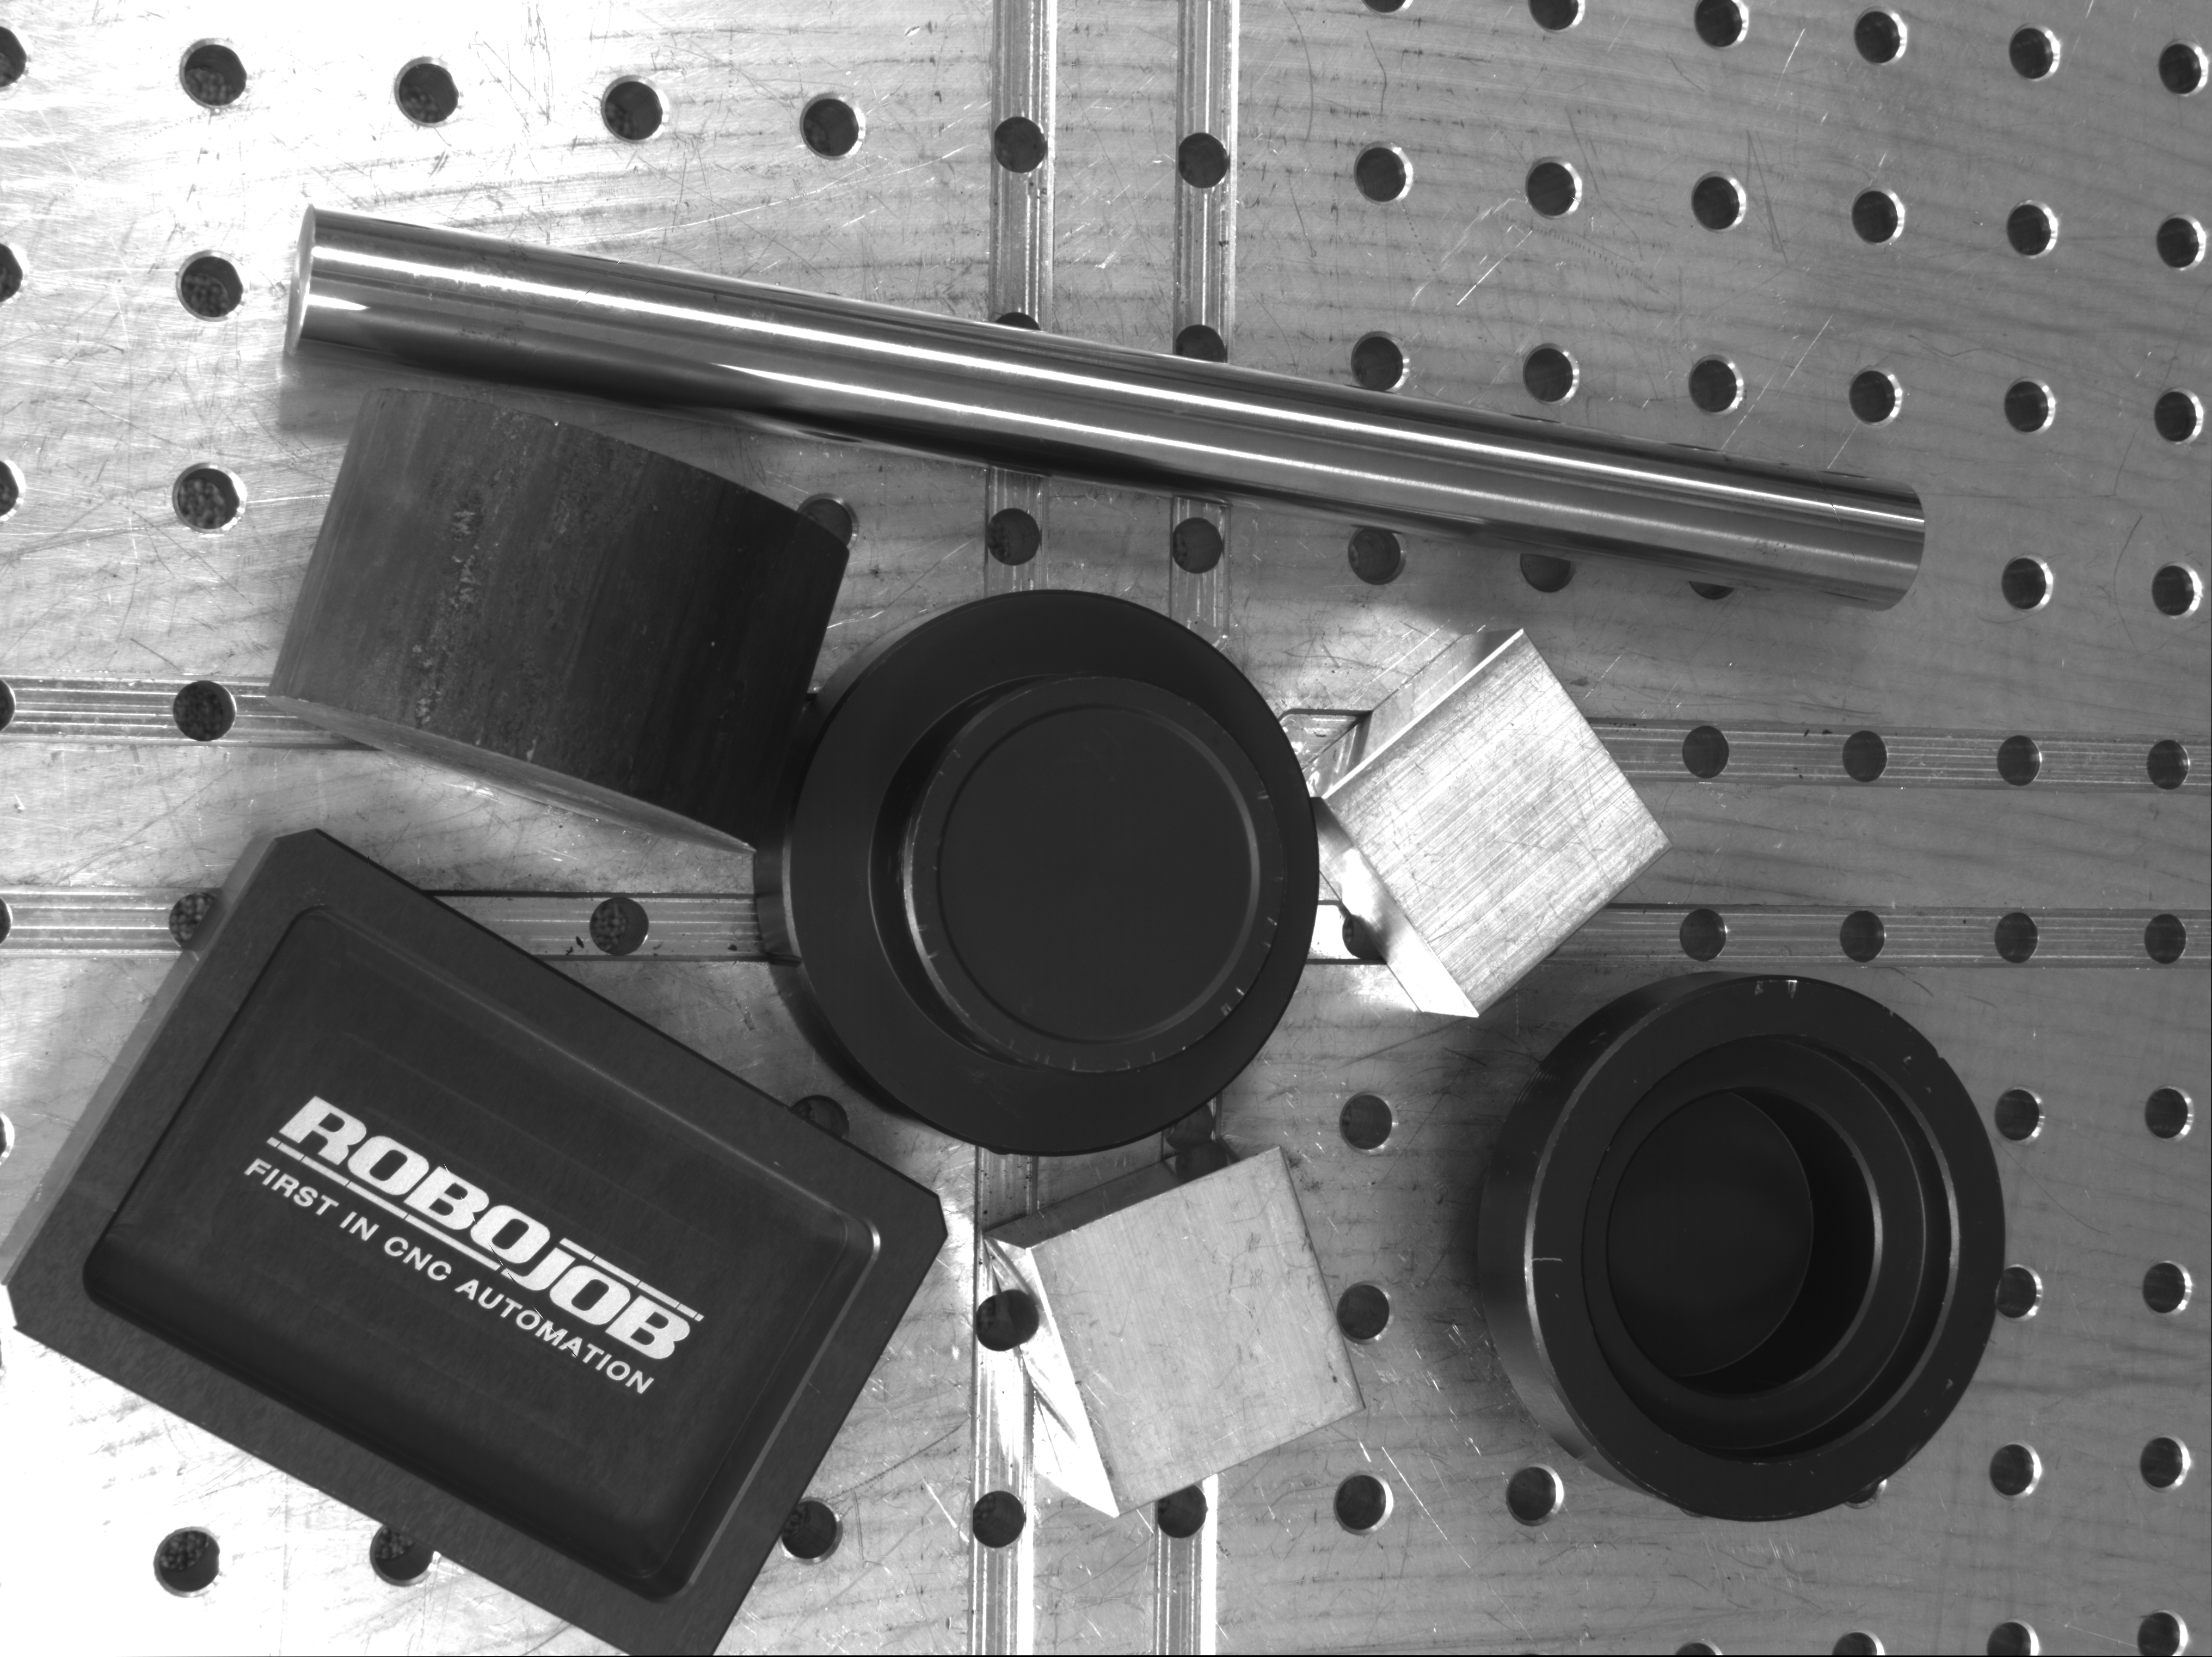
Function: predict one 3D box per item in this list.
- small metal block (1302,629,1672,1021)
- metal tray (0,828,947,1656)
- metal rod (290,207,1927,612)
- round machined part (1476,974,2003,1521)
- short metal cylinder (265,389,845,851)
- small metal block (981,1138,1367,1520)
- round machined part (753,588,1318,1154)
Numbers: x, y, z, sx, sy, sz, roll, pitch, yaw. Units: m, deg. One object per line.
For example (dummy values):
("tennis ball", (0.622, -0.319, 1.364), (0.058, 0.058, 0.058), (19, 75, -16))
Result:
("small metal block", (0.066, -0.001, 0.670), (0.050, 0.025, 0.050), (-40, 103, -16))
("metal tray", (-0.104, 0.069, 0.605), (0.130, 0.030, 0.090), (32, 80, -17))
("metal rod", (0.009, -0.071, 0.648), (0.301, 0.025, 0.025), (7, 88, -20))
("round machined part", (0.112, 0.075, 0.677), (0.098, 0.042, 0.098), (0, 90, -20))
("short metal cylinder", (-0.087, -0.032, 0.584), (0.080, 0.080, 0.050), (19, 83, -19))
("small metal block", (0.012, 0.087, 0.650), (0.050, 0.025, 0.050), (-20, 97, -19))
("round machined part", (-0.008, 0.007, 0.633), (0.098, 0.042, 0.098), (1, 87, -20))
